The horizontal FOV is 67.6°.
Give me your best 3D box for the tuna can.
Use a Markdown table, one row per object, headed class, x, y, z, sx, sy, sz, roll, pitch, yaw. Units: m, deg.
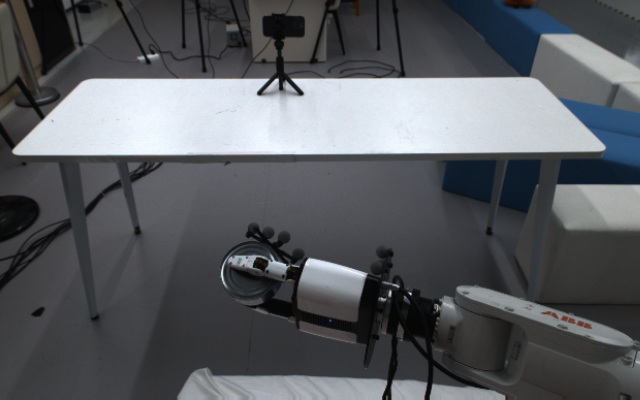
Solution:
| class | x | y | z | sx | sy | sz | roll | pitch | yaw |
| --- | --- | --- | --- | --- | --- | --- | --- | --- | --- |
| tuna can | -0.094 | 0.103 | 0.678 | 0.085 | 0.034 | 0.085 | -2 | 60 | 3 |
